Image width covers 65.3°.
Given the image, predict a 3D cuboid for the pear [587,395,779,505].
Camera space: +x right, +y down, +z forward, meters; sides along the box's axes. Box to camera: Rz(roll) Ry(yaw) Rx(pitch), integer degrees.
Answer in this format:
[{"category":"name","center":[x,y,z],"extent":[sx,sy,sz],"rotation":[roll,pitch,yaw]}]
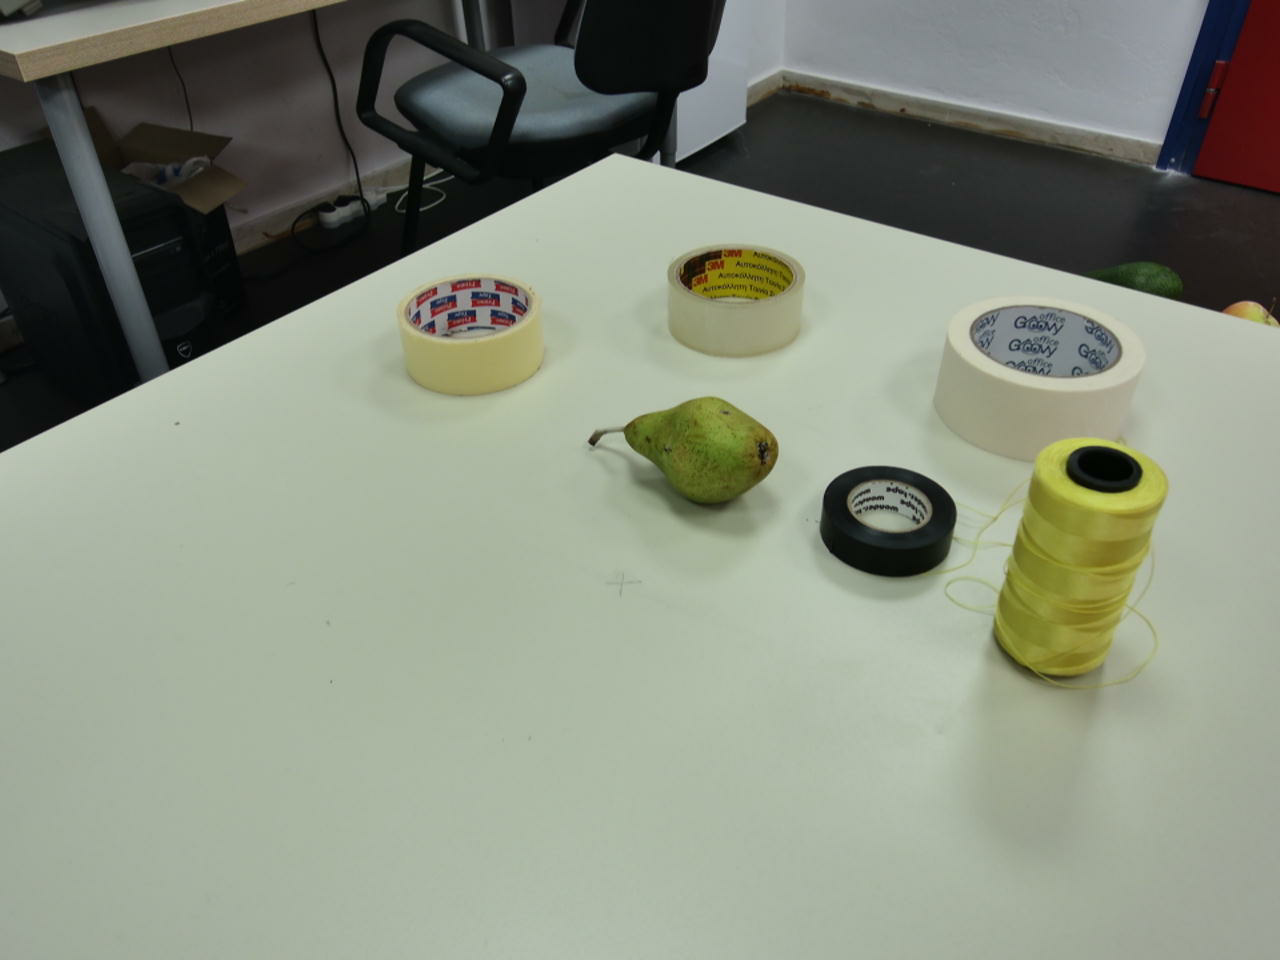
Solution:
[{"category":"pear","center":[0.025,-0.024,0.540],"extent":[0.056,0.056,0.111],"rotation":[-24,43,-28]}]
